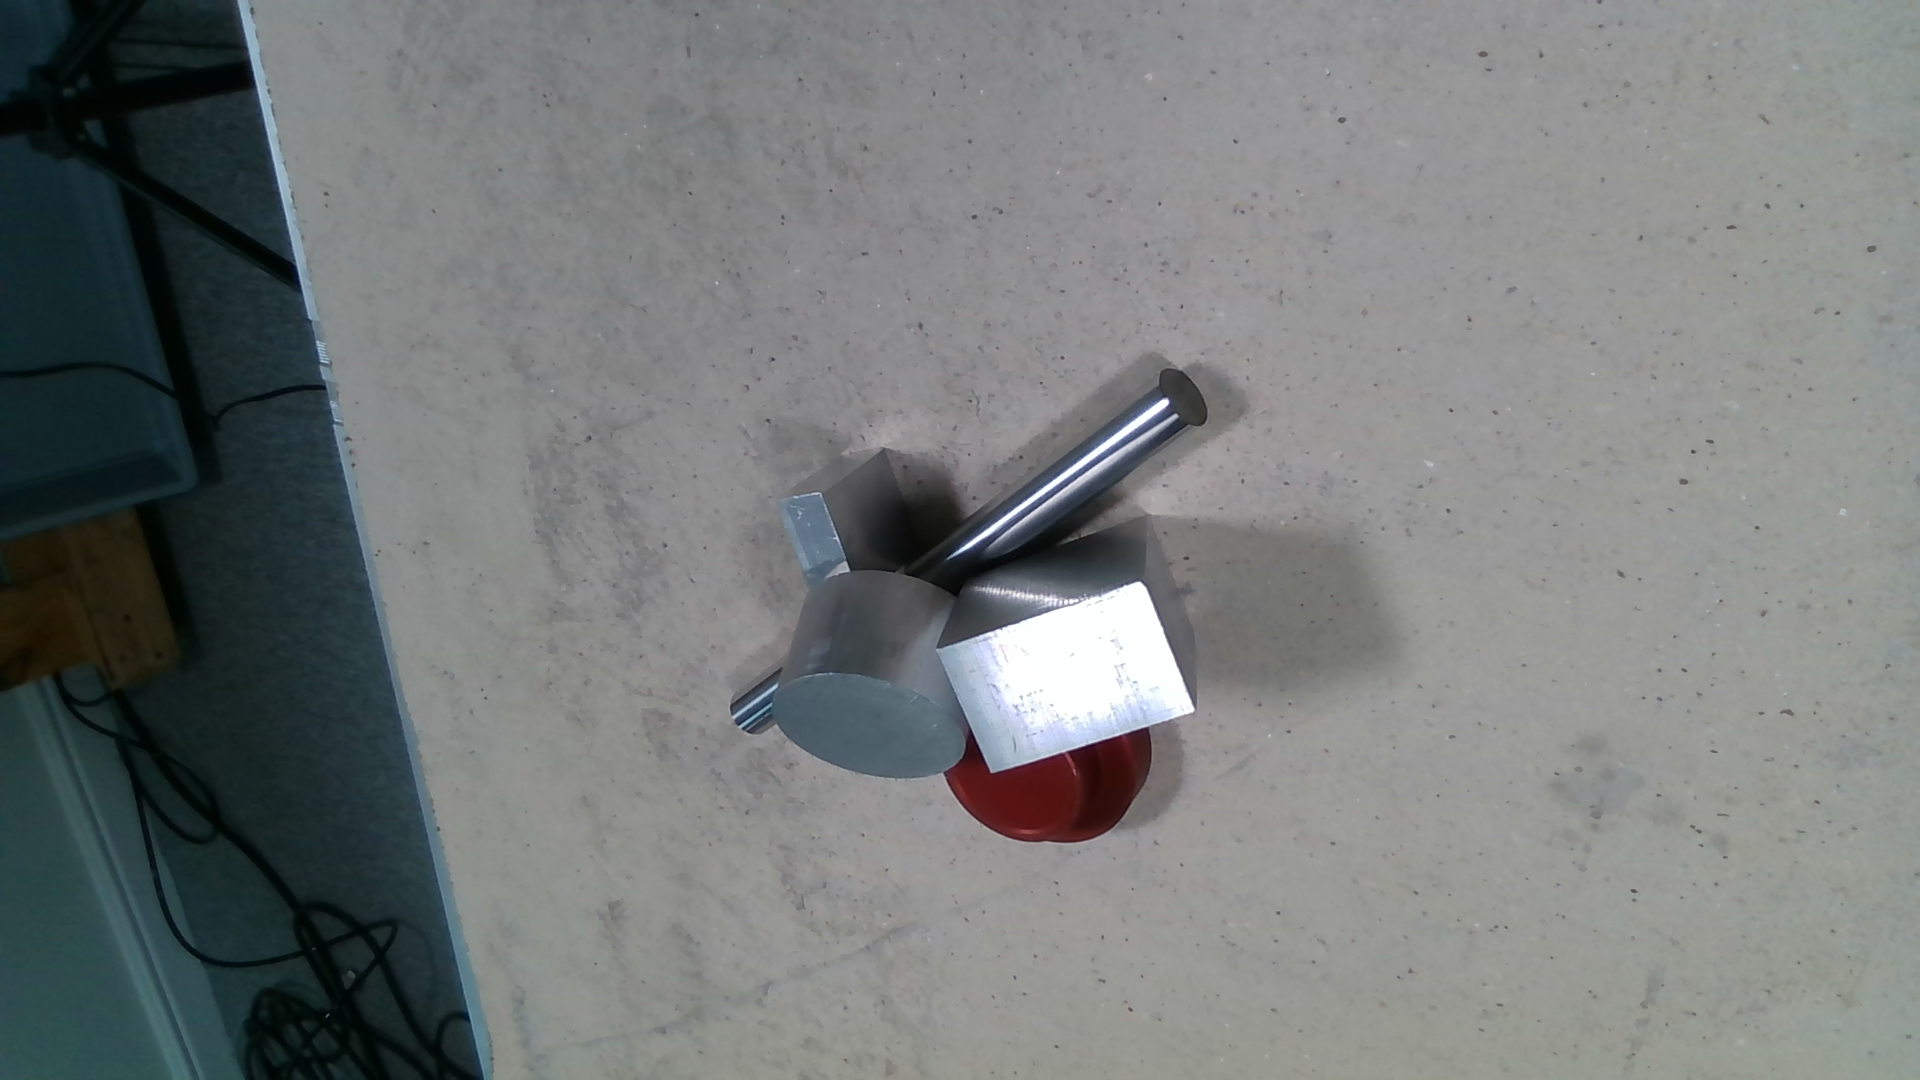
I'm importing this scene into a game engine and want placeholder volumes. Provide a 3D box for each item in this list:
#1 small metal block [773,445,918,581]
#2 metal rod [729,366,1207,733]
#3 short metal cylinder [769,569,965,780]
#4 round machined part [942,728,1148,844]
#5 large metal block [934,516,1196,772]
[{"bbox_3d":[-0.047,-0.006,0.590,0.025,0.050,0.050,-8,111,34],"label":"small metal block"},{"bbox_3d":[-0.012,0.016,0.597,0.025,0.025,0.301,51,129,-3],"label":"metal rod"},{"bbox_3d":[-0.033,0.057,0.567,0.080,0.050,0.080,8,142,6],"label":"short metal cylinder"},{"bbox_3d":[0.030,0.093,0.601,0.098,0.042,0.098,14,122,25],"label":"round machined part"},{"bbox_3d":[0.043,0.038,0.525,0.080,0.080,0.050,-20,103,15],"label":"large metal block"}]
